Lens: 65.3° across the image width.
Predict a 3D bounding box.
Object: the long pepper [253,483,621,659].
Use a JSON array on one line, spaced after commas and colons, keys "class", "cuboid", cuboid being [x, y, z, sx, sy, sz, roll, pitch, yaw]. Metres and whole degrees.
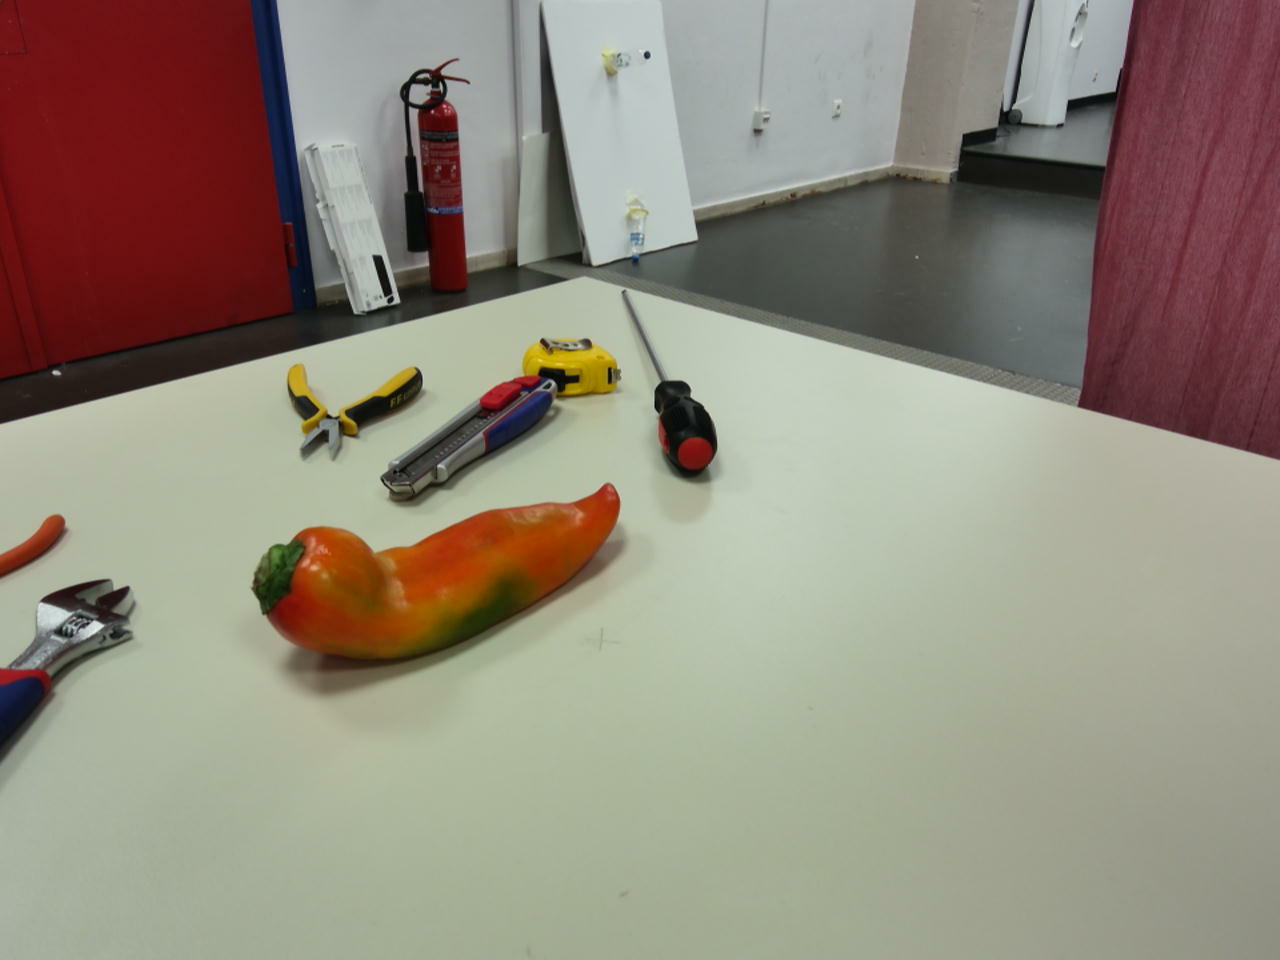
[{"class": "long pepper", "cuboid": [-0.081, 0.030, 0.471, 0.199, 0.065, 0.066, -21, 32, -39]}]
